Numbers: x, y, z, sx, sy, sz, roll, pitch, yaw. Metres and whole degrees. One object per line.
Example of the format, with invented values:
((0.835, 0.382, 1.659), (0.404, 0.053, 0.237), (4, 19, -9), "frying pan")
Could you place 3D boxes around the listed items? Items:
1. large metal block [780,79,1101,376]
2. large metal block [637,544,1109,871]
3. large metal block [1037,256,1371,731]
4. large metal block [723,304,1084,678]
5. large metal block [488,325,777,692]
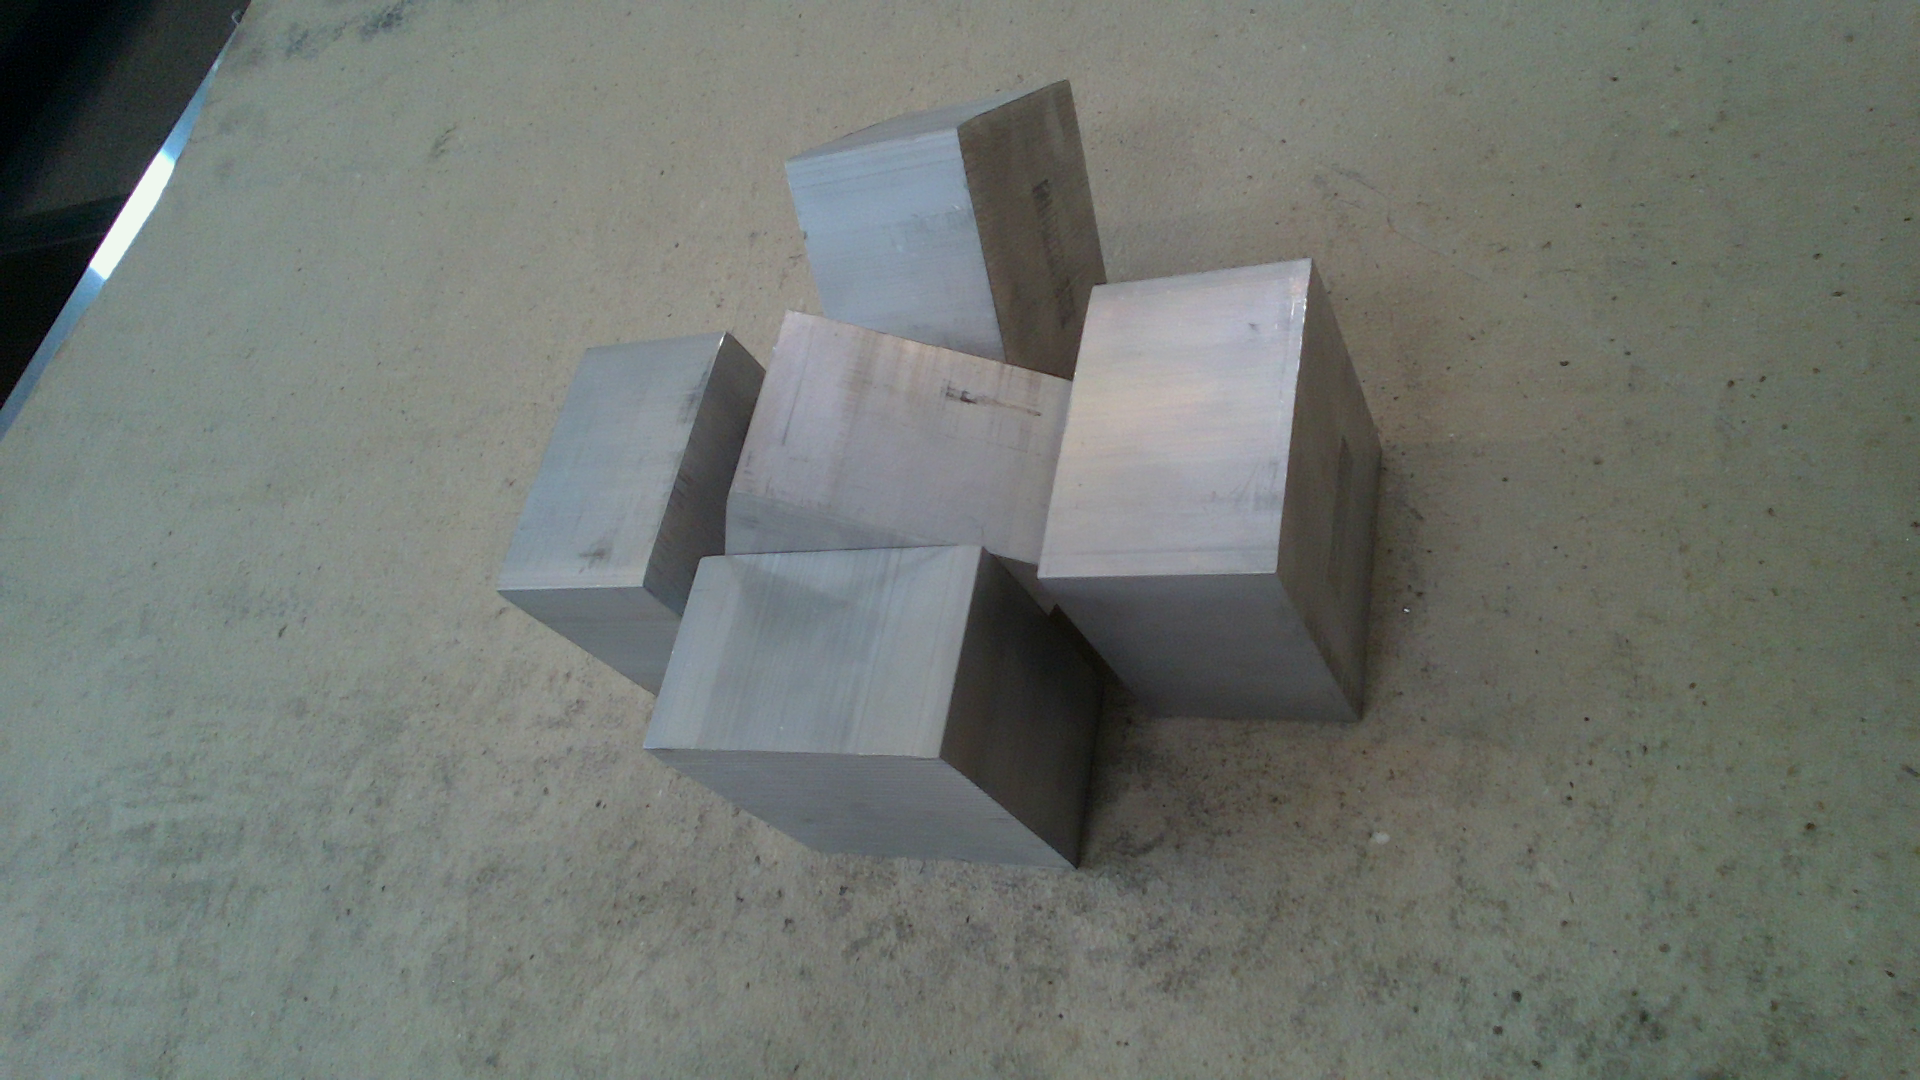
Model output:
((0.001, -0.078, 0.387), (0.050, 0.080, 0.080), (-3, 23, 27), "large metal block")
((-0.018, 0.044, 0.342), (0.080, 0.080, 0.050), (-3, 60, 27), "large metal block")
((0.063, -0.008, 0.329), (0.050, 0.080, 0.080), (-2, 60, 27), "large metal block")
((-0.015, -0.007, 0.352), (0.080, 0.080, 0.050), (14, 63, -4), "large metal block")
((-0.079, -0.004, 0.402), (0.050, 0.080, 0.080), (-2, 60, 27), "large metal block")
